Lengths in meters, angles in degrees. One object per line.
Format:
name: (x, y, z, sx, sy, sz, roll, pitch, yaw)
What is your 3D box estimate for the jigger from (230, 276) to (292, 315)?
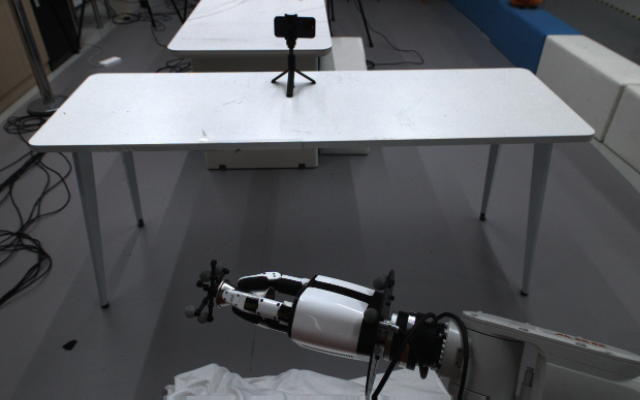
jigger: (-0.094, 0.128, 0.652, 0.071, 0.043, 0.043, 7, 35, 16)
